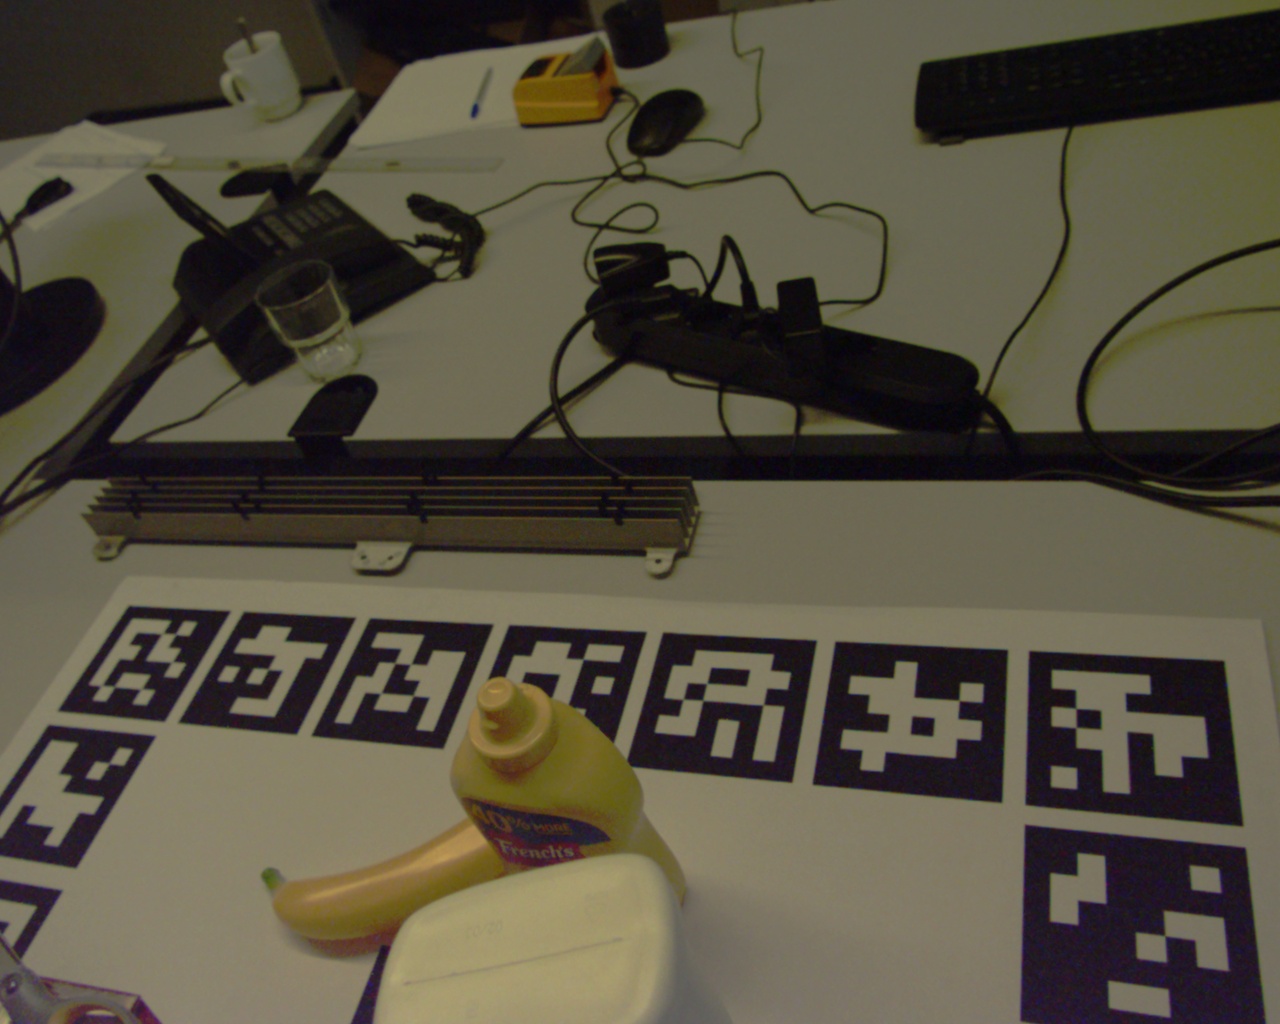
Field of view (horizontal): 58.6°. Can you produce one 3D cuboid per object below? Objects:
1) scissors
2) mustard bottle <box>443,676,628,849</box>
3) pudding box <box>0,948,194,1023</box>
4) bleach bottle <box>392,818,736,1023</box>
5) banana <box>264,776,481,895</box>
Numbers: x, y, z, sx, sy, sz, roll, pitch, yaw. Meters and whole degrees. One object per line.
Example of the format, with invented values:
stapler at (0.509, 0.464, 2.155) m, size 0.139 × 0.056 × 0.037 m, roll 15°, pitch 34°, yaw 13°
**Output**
scissors at (-0.325, 0.228, 0.595) m, size 0.205 × 0.016 × 0.087 m, roll 26°, pitch 63°, yaw 32°
mustard bottle at (-0.053, 0.150, 0.602) m, size 0.097 × 0.190 × 0.058 m, roll 13°, pitch 51°, yaw 29°
pudding box at (-0.304, 0.277, 0.630) m, size 0.115 × 0.089 × 0.038 m, roll 4°, pitch 41°, yaw 23°
bleach bottle at (0.005, 0.220, 0.441) m, size 0.103 × 0.248 × 0.068 m, roll -18°, pitch 38°, yaw 12°
banana at (-0.136, 0.183, 0.694) m, size 0.197 × 0.038 × 0.075 m, roll -27°, pitch 27°, yaw -8°
